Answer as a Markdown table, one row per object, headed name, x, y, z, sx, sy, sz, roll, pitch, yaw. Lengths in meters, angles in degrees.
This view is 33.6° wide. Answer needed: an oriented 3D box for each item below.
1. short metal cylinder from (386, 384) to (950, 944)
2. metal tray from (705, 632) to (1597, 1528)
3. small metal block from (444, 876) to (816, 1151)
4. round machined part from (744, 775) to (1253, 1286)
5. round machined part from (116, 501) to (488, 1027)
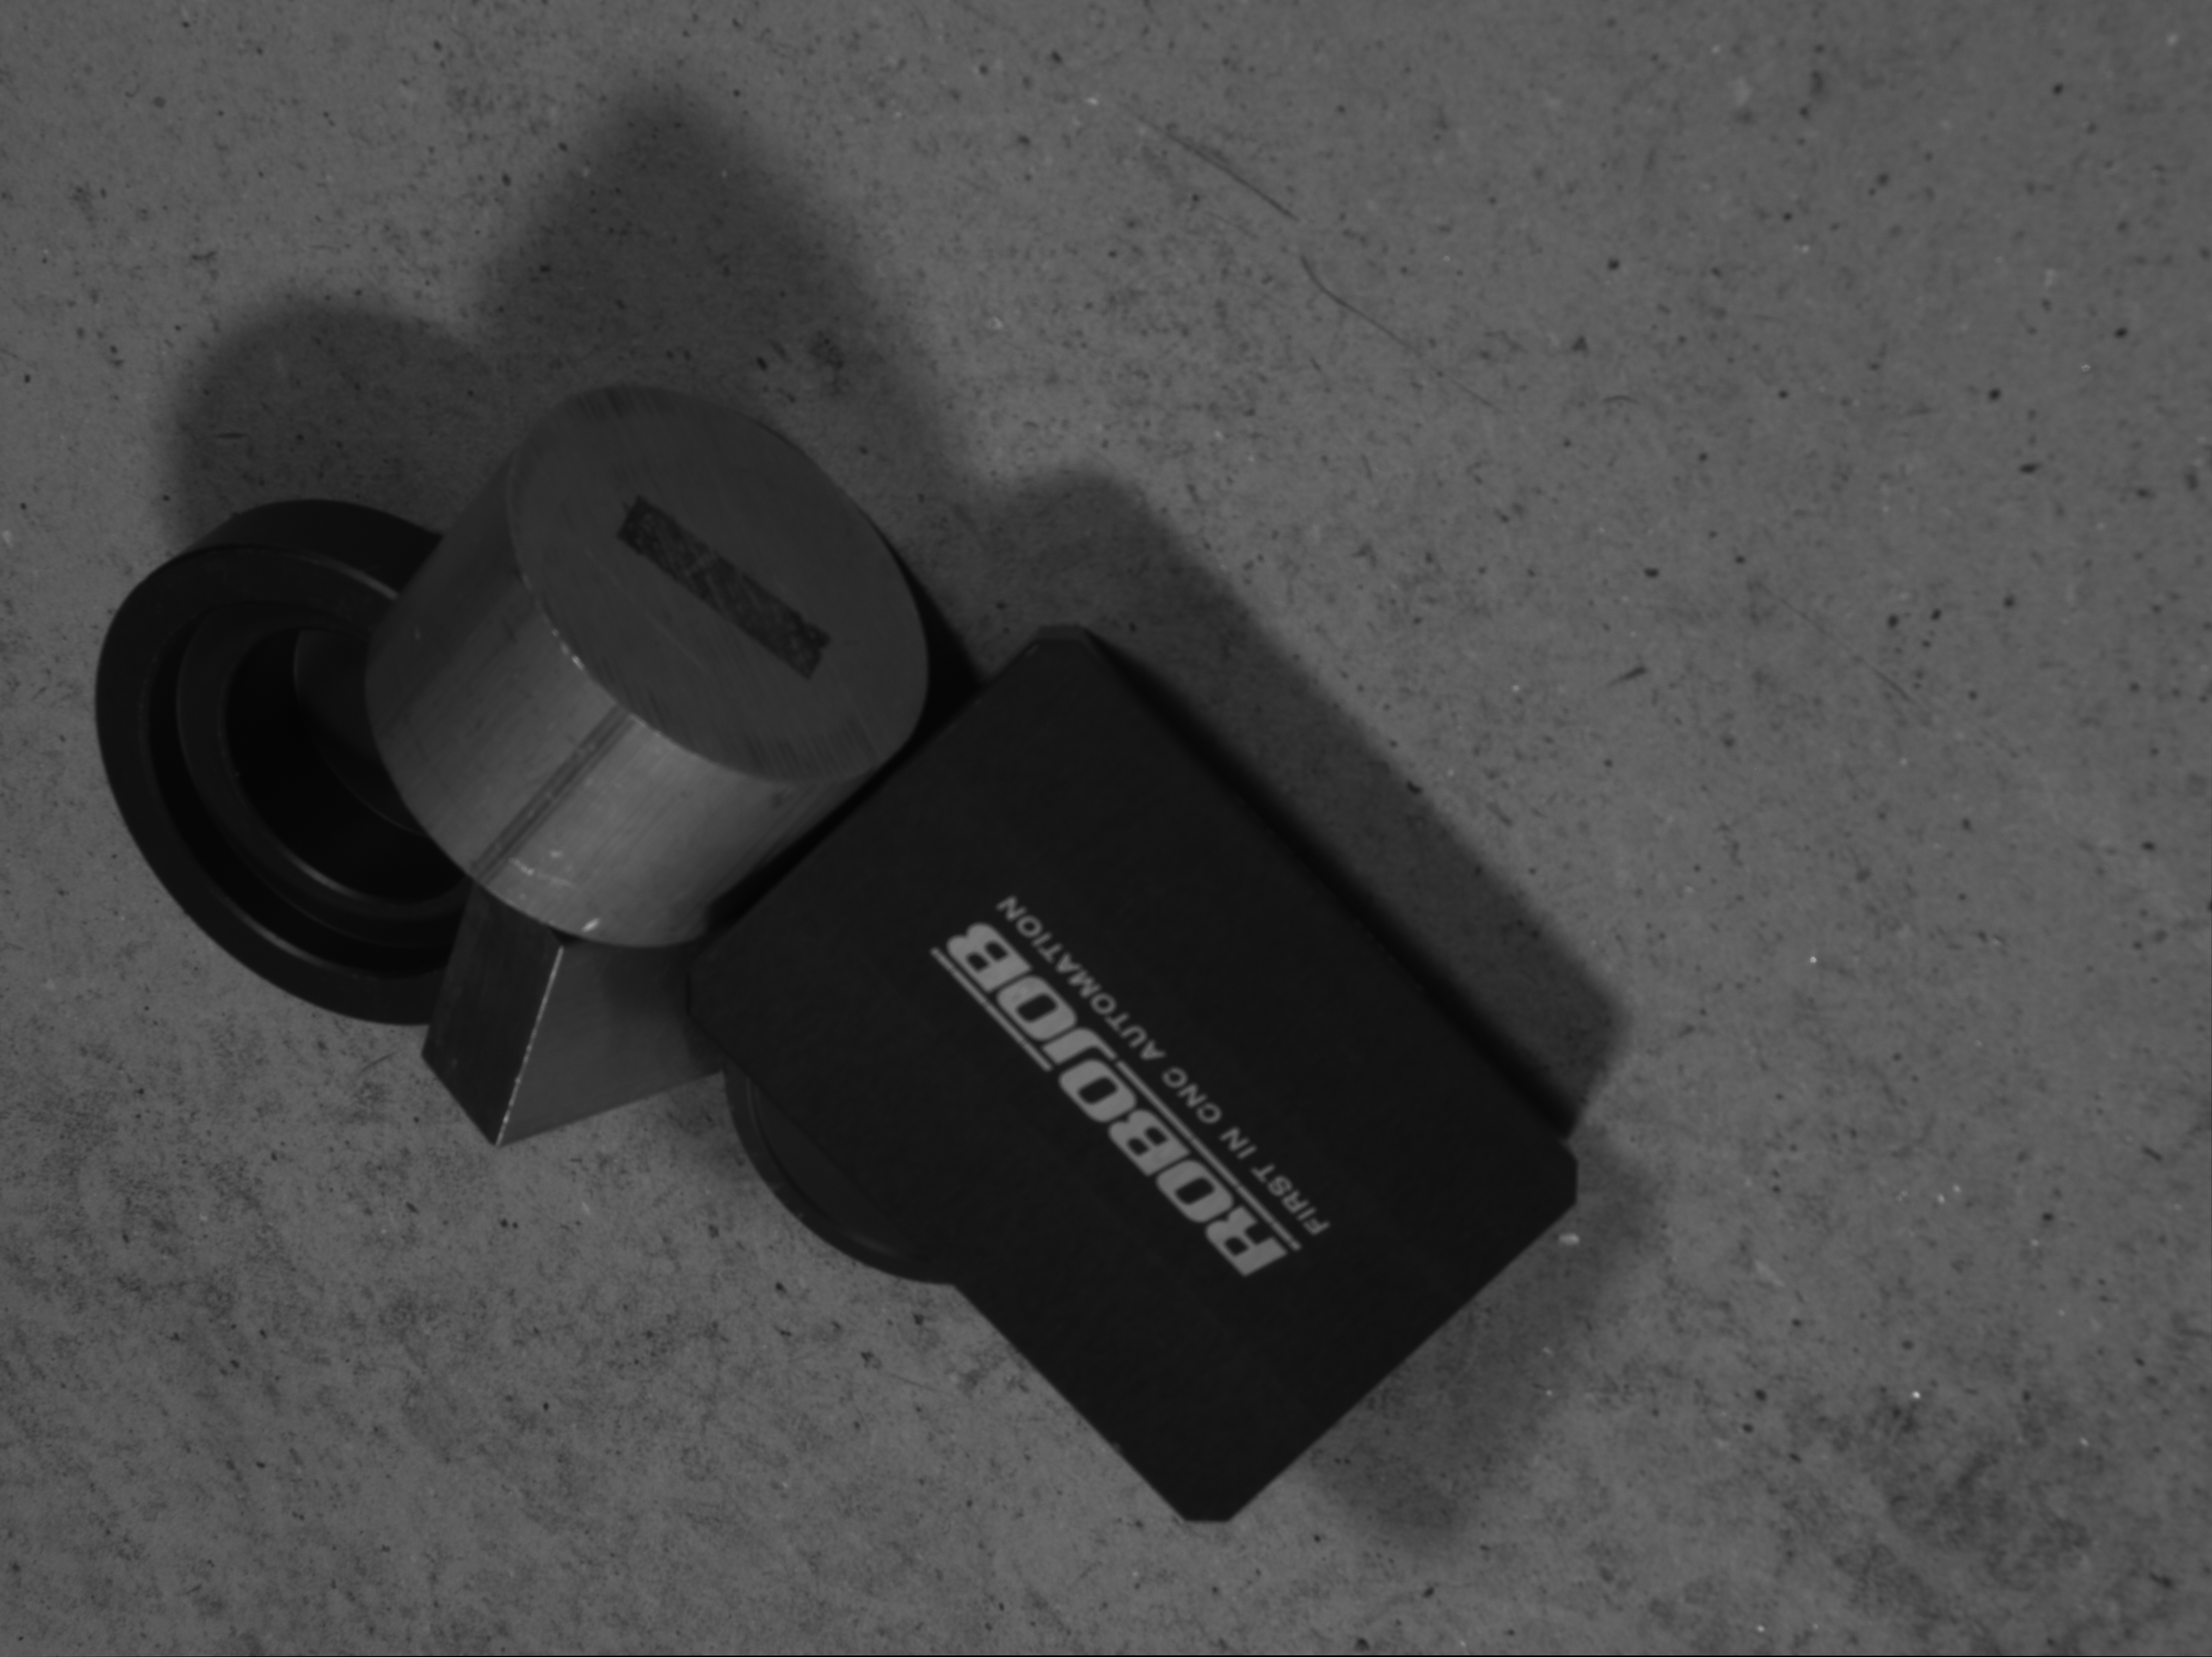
| name | x | y | z | sx | sy | sz | roll | pitch | yaw |
| --- | --- | --- | --- | --- | --- | --- | --- | --- | --- |
| short metal cylinder | -0.074 | -0.028 | 0.617 | 0.080 | 0.080 | 0.050 | 44 | 128 | -3 |
| metal tray | 0.008 | 0.042 | 0.621 | 0.090 | 0.030 | 0.130 | -43 | 95 | 6 |
| small metal block | -0.085 | 0.025 | 0.650 | 0.025 | 0.050 | 0.050 | 46 | 132 | 27 |
| round machined part | -0.026 | 0.043 | 0.659 | 0.098 | 0.042 | 0.098 | 12 | 123 | 20 |
| round machined part | -0.129 | -0.016 | 0.676 | 0.098 | 0.042 | 0.098 | 12 | 123 | 20 |
